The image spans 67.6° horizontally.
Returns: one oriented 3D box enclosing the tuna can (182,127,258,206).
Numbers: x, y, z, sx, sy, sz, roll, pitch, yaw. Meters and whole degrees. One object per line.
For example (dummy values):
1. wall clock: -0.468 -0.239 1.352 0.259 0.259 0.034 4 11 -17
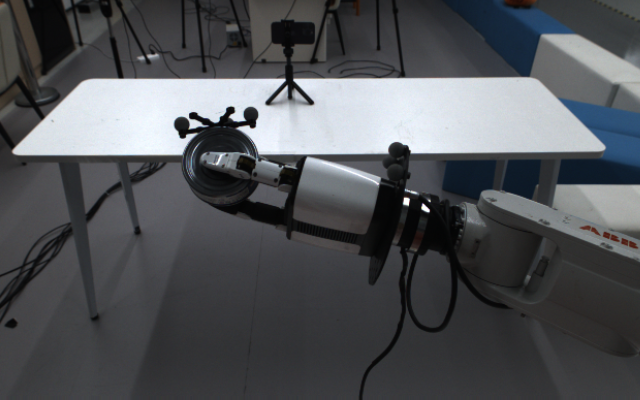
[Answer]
1. tuna can: -0.105 -0.033 0.538 0.085 0.034 0.085 0 72 -1
